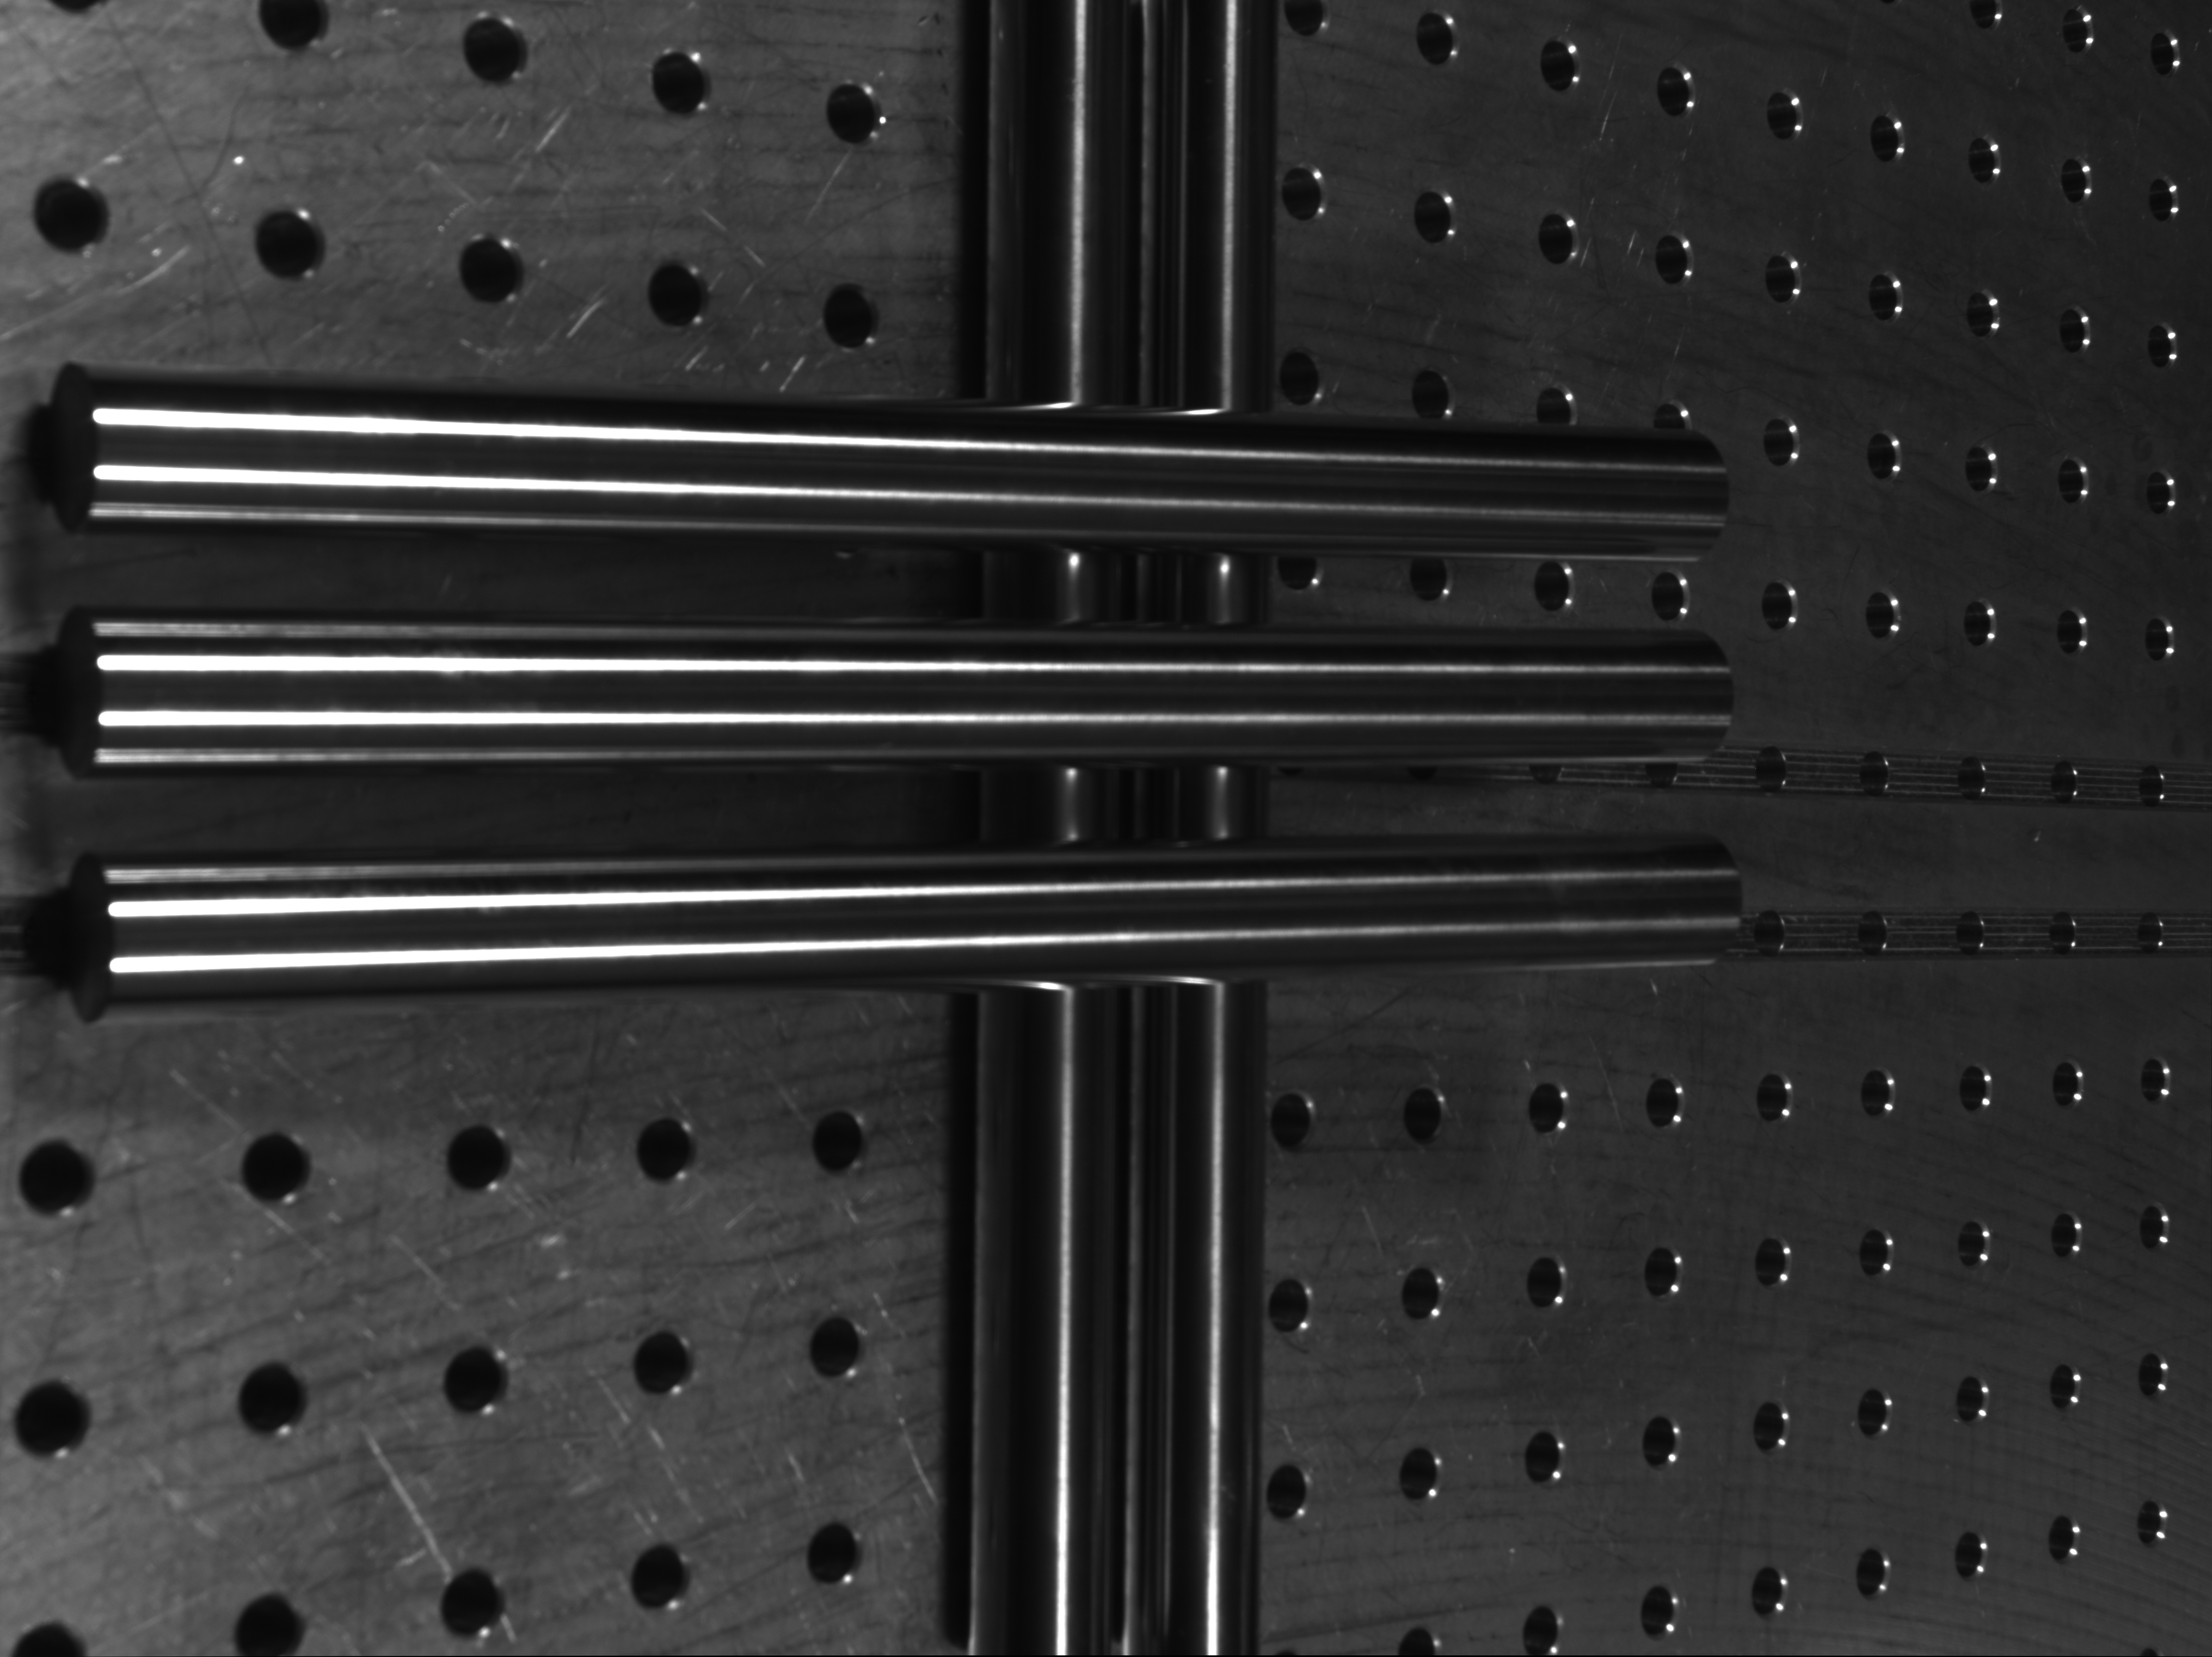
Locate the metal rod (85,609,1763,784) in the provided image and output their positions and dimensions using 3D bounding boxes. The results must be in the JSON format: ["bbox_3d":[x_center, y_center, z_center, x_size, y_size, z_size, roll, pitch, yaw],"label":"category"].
[{"bbox_3d":[-0.014,-0.022,0.602,0.301,0.025,0.025,-1,91,-32],"label":"metal rod"}]

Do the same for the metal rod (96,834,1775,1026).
[{"bbox_3d":[-0.013,0.015,0.603,0.301,0.025,0.025,-1,90,-31],"label":"metal rod"}]

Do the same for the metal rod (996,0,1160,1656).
[{"bbox_3d":[-0.005,-0.005,0.637,0.025,0.025,0.300,1,89,-40],"label":"metal rod"}]

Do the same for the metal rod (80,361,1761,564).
[{"bbox_3d":[-0.015,-0.058,0.601,0.301,0.025,0.025,-2,91,-32],"label":"metal rod"}]

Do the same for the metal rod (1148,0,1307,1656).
[{"bbox_3d":[0.022,-0.002,0.659,0.025,0.025,0.300,1,89,-40],"label":"metal rod"}]
